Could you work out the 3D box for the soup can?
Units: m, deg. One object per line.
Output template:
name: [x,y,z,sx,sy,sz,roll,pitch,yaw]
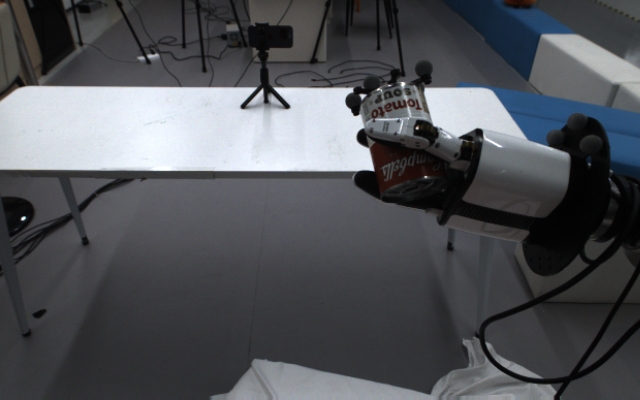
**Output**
soup can: [0.084,-0.057,0.483,0.067,0.067,0.101,-8,74,-14]
